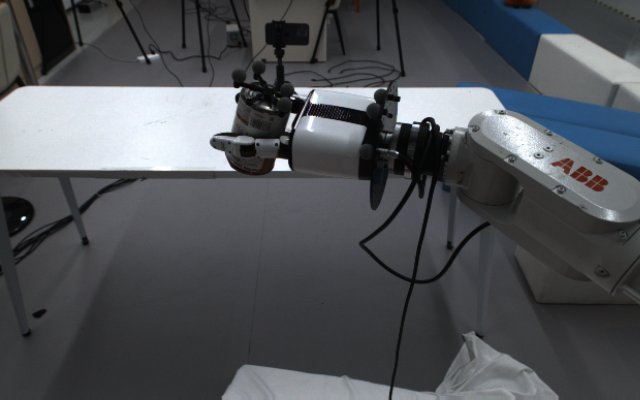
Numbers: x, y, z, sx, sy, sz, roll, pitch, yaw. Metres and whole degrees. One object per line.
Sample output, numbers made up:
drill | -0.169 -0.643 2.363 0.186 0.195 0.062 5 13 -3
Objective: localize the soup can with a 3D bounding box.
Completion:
soup can | -0.079 -0.090 0.626 0.067 0.101 0.067 14 40 -12
